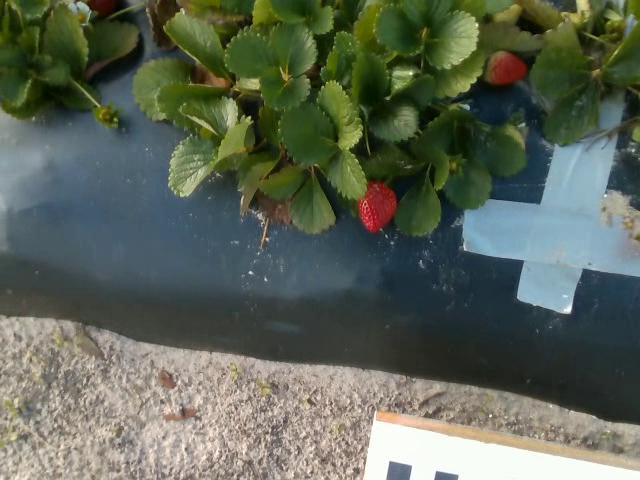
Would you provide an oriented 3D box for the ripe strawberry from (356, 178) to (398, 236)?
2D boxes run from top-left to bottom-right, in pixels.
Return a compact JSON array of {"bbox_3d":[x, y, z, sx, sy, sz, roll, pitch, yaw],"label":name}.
[{"bbox_3d":[0.023,-0.013,0.267,0.018,0.022,0.021,5,-13,25],"label":"ripe strawberry"}]
